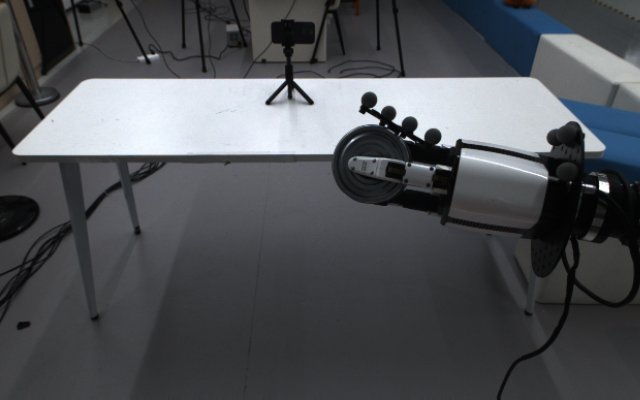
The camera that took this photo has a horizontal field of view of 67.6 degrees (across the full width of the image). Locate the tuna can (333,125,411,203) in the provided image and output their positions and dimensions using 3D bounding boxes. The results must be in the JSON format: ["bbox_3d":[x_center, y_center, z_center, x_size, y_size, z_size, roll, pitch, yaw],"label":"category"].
[{"bbox_3d":[0.061,-0.033,0.527,0.085,0.085,0.034,13,4,15],"label":"tuna can"}]
